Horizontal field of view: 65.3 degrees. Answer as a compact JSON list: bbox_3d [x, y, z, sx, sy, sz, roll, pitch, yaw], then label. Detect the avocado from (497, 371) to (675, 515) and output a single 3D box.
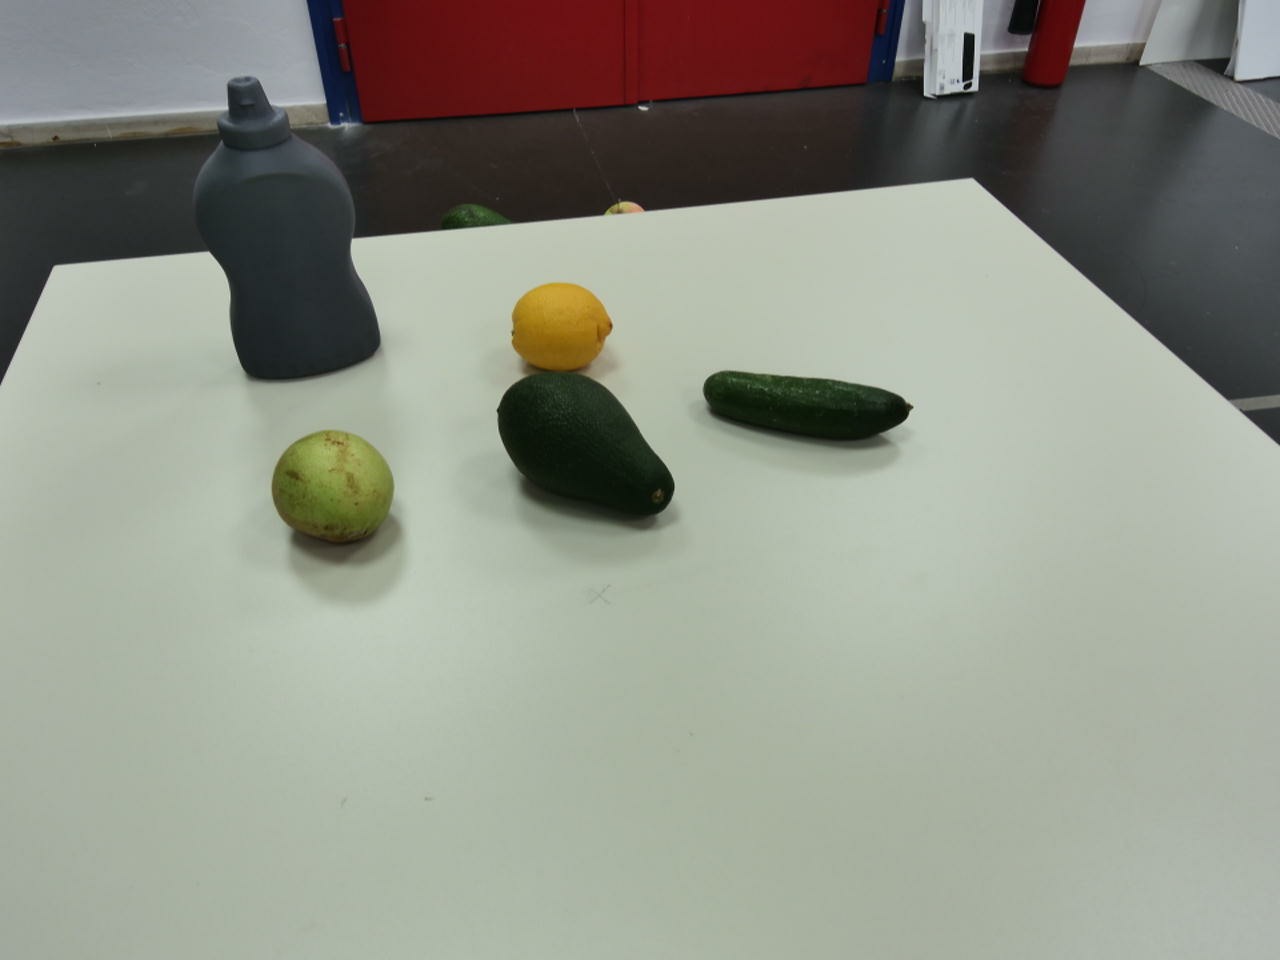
[{"bbox_3d":[-0.034,-0.021,0.578,0.072,0.071,0.109,-25,45,-27],"label":"avocado"}]
